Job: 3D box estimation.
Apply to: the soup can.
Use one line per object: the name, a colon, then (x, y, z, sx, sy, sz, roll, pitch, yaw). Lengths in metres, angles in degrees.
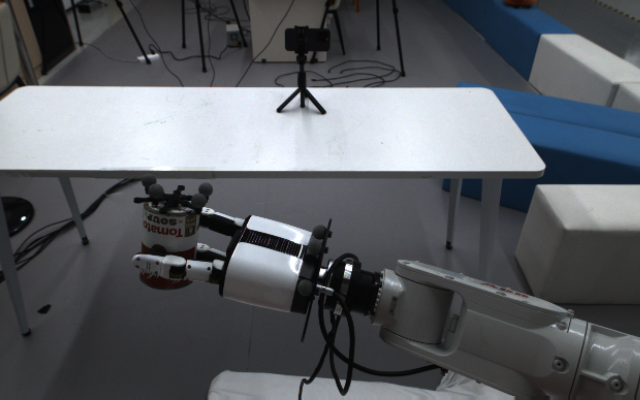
soup can: (-0.183, 0.051, 0.598, 0.067, 0.101, 0.067, 9, 20, -3)
